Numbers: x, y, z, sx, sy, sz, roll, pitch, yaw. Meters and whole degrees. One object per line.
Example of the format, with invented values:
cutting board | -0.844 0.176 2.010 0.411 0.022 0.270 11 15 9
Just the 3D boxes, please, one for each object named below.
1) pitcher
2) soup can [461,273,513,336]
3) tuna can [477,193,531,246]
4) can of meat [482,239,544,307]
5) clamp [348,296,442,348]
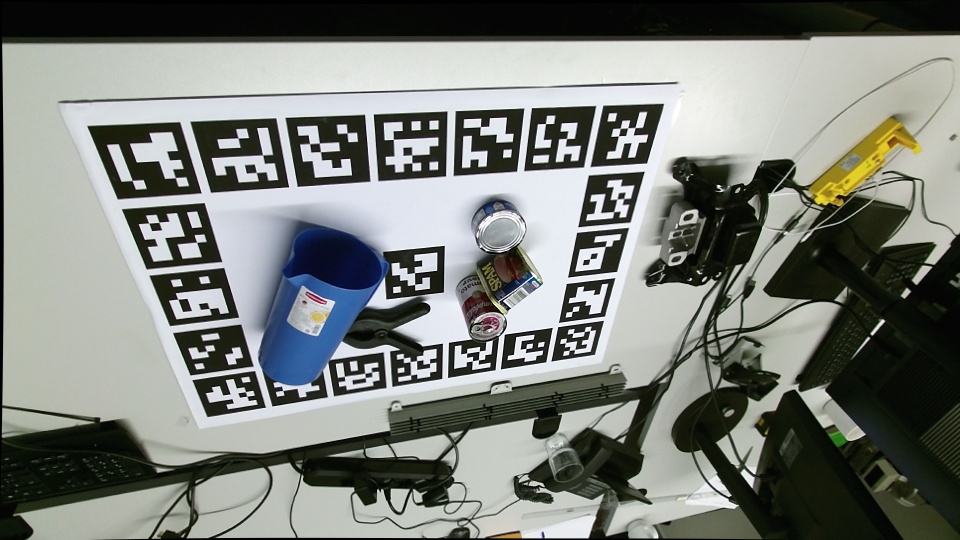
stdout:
pitcher | -0.241 0.057 0.830 0.189 0.133 0.242 -3 136 -44
soup can | 0.012 0.059 0.941 0.068 0.101 0.068 -10 126 -15
tuna can | 0.039 -0.084 0.886 0.086 0.033 0.086 -9 125 -12
can of meat | 0.062 0.001 0.909 0.084 0.101 0.058 -37 127 5
clamp | -0.154 0.100 0.969 0.166 0.036 0.122 -3 130 -12
